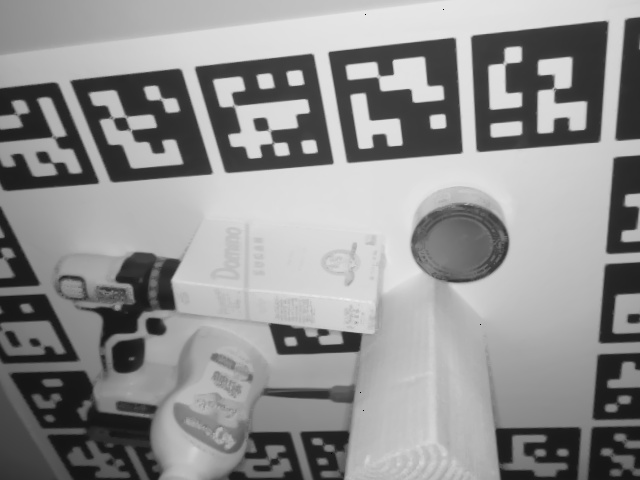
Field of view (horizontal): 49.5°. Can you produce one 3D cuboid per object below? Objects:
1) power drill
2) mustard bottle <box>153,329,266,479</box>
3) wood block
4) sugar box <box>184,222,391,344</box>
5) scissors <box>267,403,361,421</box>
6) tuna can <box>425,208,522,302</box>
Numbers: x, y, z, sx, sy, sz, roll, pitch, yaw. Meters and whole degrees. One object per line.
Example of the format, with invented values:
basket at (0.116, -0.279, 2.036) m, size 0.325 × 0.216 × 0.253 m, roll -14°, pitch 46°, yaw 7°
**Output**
power drill at (-0.157, 0.104, 0.715) m, size 0.185 × 0.058 × 0.185 m, roll 10°, pitch 115°, yaw 1°
mustard bottle at (-0.113, 0.178, 0.685) m, size 0.096 × 0.193 × 0.057 m, roll 43°, pitch 117°, yaw -16°
wood block at (0.100, 0.145, 0.632) m, size 0.090 × 0.208 × 0.090 m, roll -27°, pitch 113°, yaw 22°
sugar box at (-0.027, 0.036, 0.640) m, size 0.176 × 0.094 × 0.045 m, roll 10°, pitch 125°, yaw 3°
scissors at (0.040, 0.187, 0.765) m, size 0.202 × 0.016 × 0.087 m, roll 1°, pitch 125°, yaw 6°
tuna can at (0.139, 0.014, 0.635) m, size 0.085 × 0.034 × 0.085 m, roll 3°, pitch 120°, yaw 6°
